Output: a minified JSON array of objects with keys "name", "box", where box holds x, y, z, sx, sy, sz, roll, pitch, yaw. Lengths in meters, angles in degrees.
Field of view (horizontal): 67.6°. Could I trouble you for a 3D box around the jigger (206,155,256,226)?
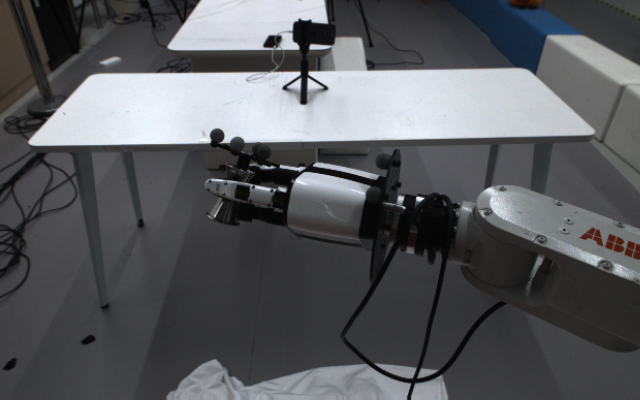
[{"name":"jigger","box":[-0.108,-0.008,0.589,0.043,0.071,0.043,21,6,-2]}]
